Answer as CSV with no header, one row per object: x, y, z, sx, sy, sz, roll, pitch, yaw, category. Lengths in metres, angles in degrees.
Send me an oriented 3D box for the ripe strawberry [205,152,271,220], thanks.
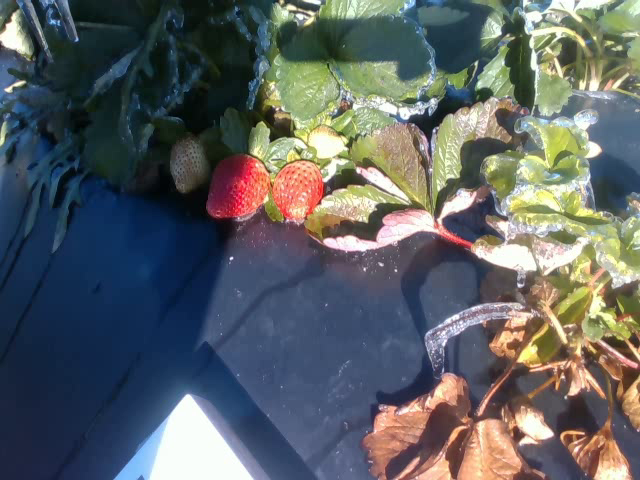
-0.052,-0.025,0.336,0.036,0.040,0.052,-2,31,24,ripe strawberry

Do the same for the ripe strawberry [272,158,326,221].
-0.012,-0.027,0.339,0.036,0.041,0.030,-26,-35,14,ripe strawberry
